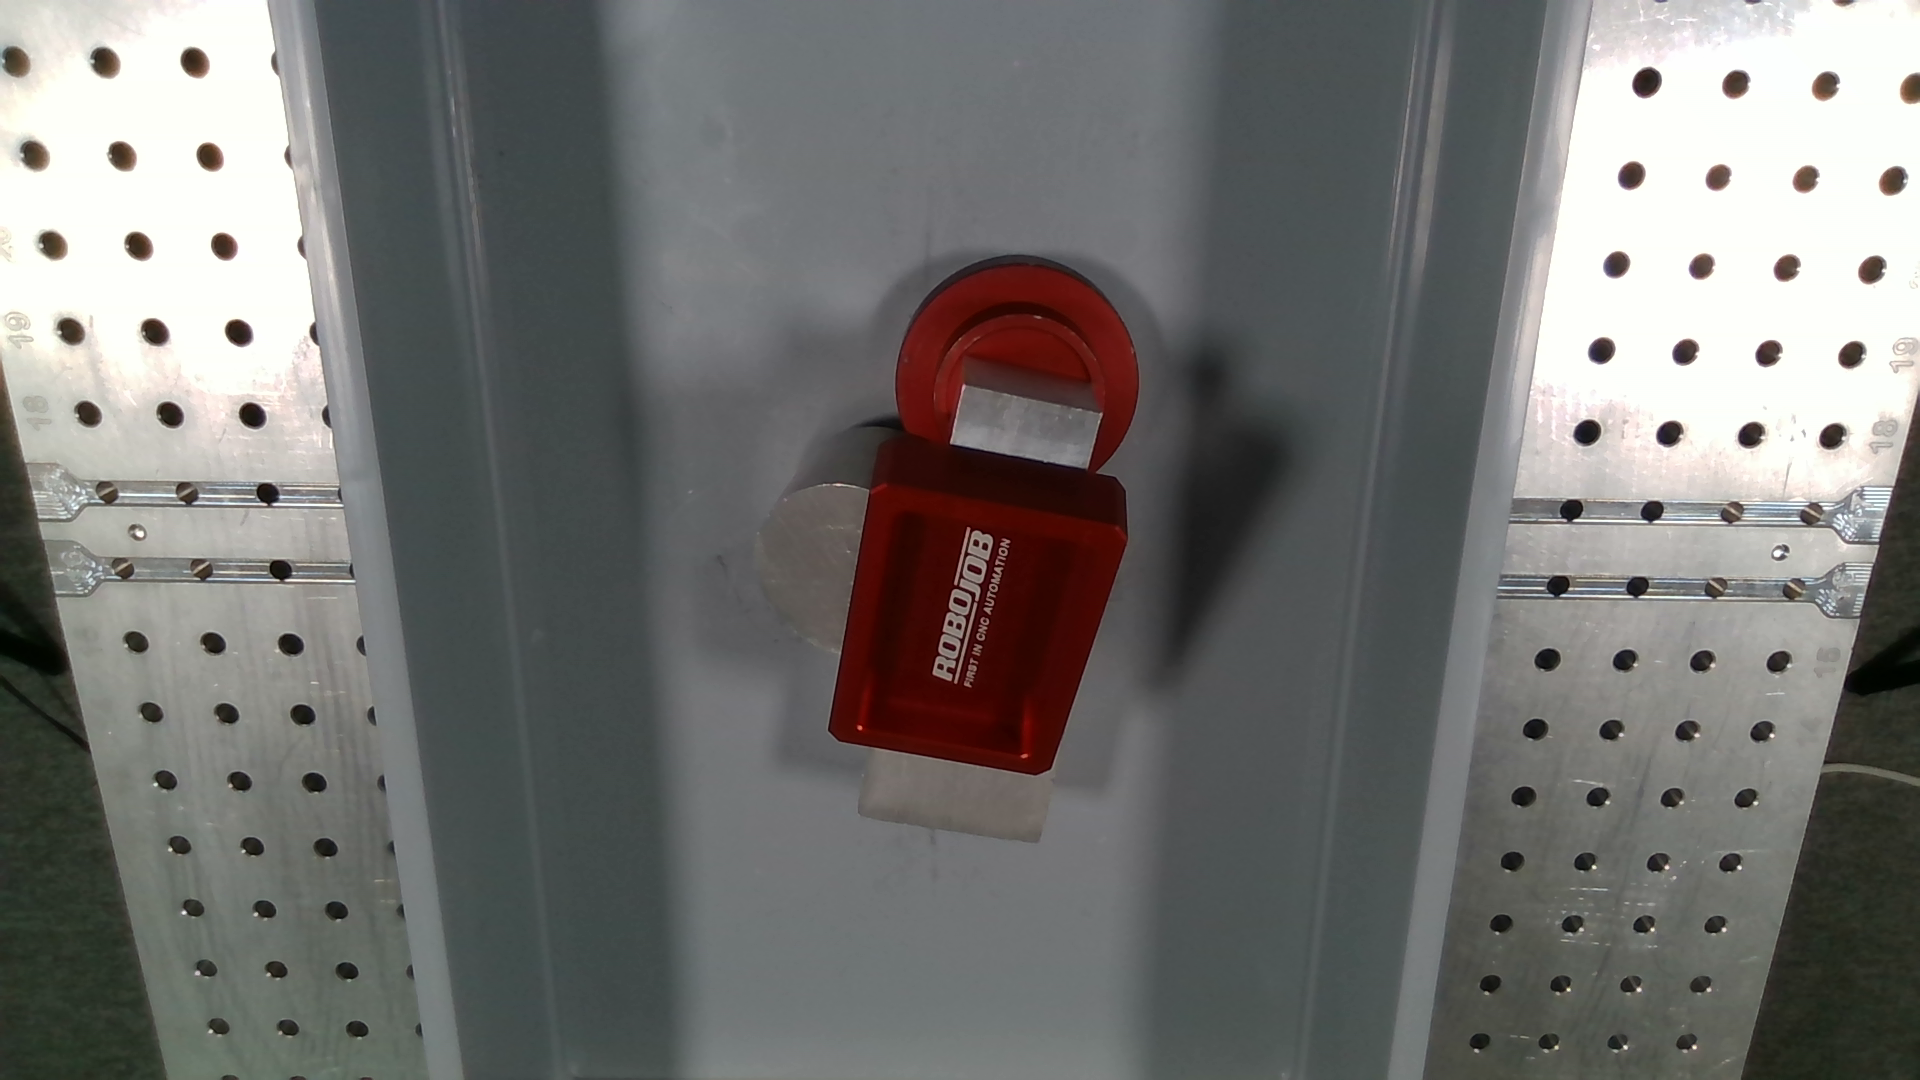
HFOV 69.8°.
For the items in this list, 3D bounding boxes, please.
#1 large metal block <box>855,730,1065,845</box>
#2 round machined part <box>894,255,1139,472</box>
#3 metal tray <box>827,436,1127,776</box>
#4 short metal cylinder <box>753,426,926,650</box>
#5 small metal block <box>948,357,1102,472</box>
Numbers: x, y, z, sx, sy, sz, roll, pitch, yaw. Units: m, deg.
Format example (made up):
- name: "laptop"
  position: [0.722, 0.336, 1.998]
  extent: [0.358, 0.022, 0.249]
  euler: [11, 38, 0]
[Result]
- name: "large metal block"
  position: [0.002, 0.079, 0.598]
  extent: [0.080, 0.050, 0.080]
  euler: [9, 110, -3]
- name: "round machined part"
  position: [0.023, -0.062, 0.551]
  extent: [0.098, 0.042, 0.098]
  euler: [0, 110, 0]
- name: "metal tray"
  position: [0.003, 0.029, 0.516]
  extent: [0.090, 0.030, 0.130]
  euler: [10, 129, -4]
- name: "short metal cylinder"
  position: [-0.037, 0.000, 0.558]
  extent: [0.080, 0.050, 0.080]
  euler: [7, 123, 11]
- name: "small metal block"
  position: [0.023, -0.046, 0.508]
  extent: [0.050, 0.050, 0.025]
  euler: [12, 110, -4]
